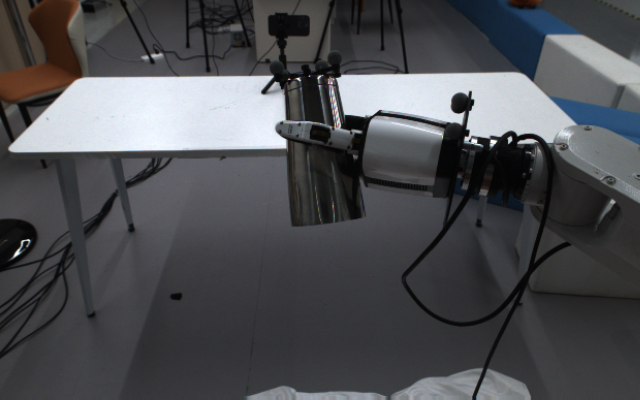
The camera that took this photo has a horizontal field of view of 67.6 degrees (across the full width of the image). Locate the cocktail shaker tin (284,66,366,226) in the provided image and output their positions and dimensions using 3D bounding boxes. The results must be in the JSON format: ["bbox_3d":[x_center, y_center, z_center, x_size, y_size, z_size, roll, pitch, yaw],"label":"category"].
[{"bbox_3d":[0.000,-0.058,0.588,0.093,0.170,0.093,-8,1,0],"label":"cocktail shaker tin"}]
